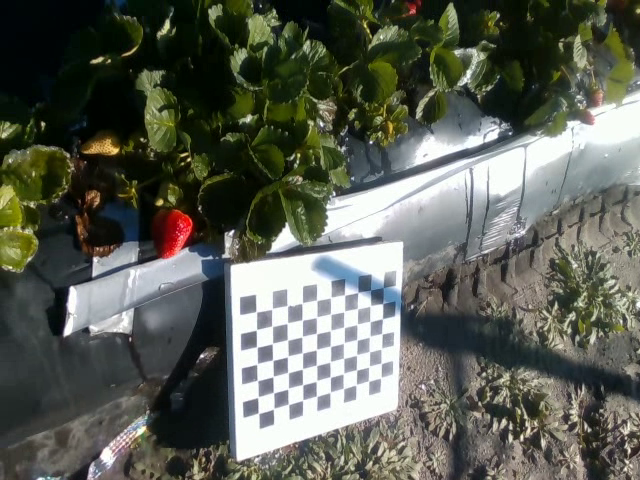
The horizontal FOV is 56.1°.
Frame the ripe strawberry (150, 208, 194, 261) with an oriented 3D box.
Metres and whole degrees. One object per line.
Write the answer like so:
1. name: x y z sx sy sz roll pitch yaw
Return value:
1. ripe strawberry: -0.182 -0.001 0.743 0.058 0.065 0.061 -33 -47 28
